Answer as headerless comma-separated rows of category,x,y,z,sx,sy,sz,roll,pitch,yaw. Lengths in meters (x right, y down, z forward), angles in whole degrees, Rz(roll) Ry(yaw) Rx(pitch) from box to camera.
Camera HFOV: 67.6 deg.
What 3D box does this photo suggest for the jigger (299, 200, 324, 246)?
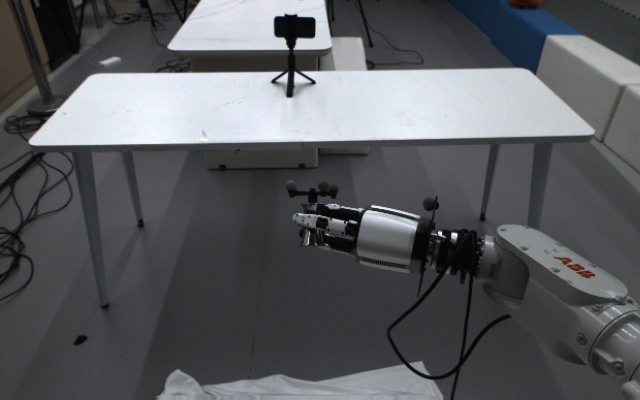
jigger,-0.013,0.039,0.778,0.043,0.071,0.043,1,-5,0
